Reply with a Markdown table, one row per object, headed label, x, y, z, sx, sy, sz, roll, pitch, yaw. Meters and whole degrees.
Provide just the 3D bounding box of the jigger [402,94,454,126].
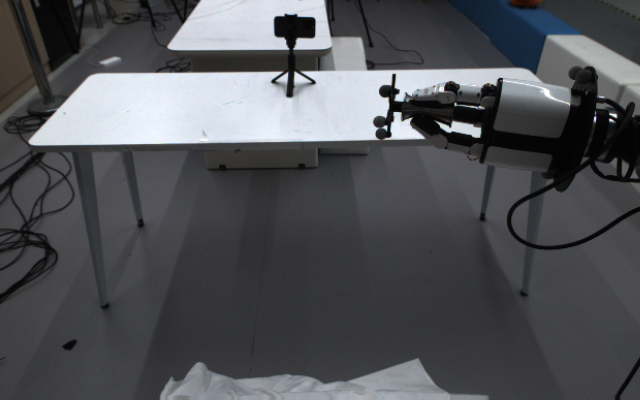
| label | x | y | z | sx | sy | sz | roll | pitch | yaw |
| --- | --- | --- | --- | --- | --- | --- | --- | --- | --- |
| jigger | 0.155 | -0.129 | 0.669 | 0.071 | 0.043 | 0.043 | 8 | 35 | 12 |
